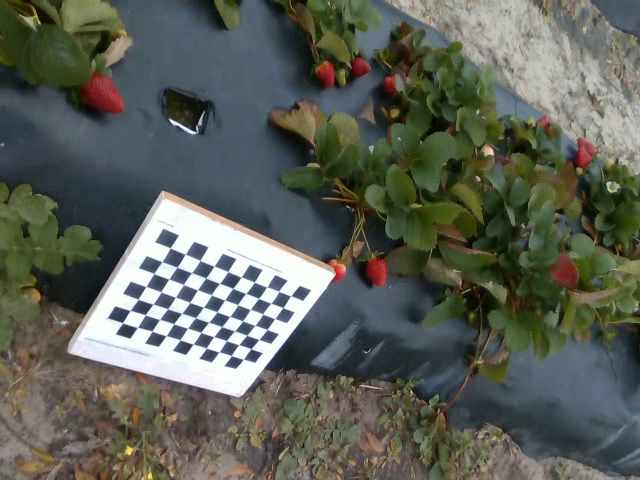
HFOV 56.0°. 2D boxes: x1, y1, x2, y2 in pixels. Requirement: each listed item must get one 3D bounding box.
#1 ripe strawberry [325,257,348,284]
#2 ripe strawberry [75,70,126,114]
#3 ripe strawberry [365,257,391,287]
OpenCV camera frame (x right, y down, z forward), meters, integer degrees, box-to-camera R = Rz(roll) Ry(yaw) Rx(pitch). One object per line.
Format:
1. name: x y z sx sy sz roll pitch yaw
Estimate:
1. ripe strawberry: 0.025 0.051 0.936 0.036 0.041 0.027 28 2 -22
2. ripe strawberry: -0.270 -0.177 0.746 0.046 0.064 0.049 -45 3 20
3. ripe strawberry: 0.094 0.051 0.976 0.044 0.059 0.042 -13 13 1
